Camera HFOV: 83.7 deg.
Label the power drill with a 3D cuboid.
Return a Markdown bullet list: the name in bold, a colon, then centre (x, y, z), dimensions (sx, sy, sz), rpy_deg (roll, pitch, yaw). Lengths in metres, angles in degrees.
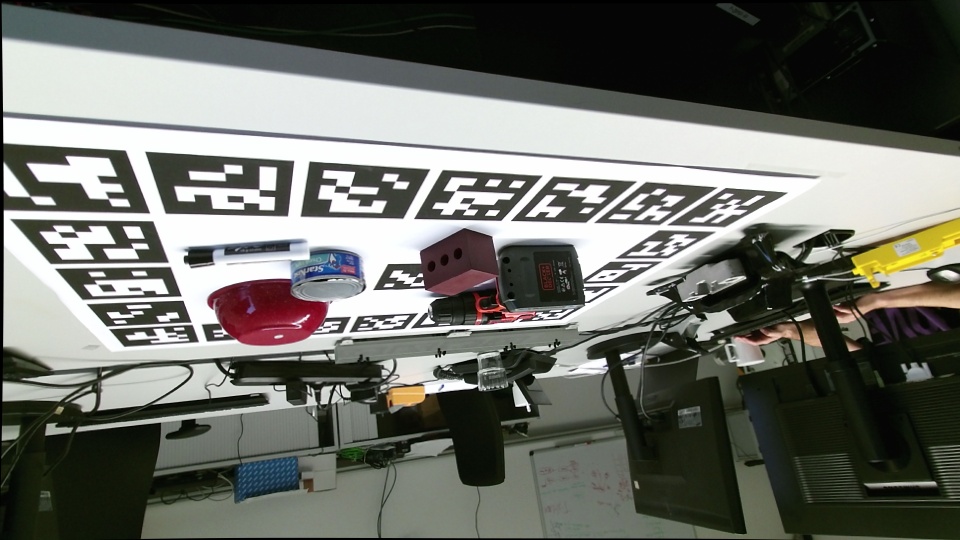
- **power drill**: centre (0.045, 0.030, 0.763), dimensions (0.185, 0.057, 0.187), rpy_deg (2, 159, -20)

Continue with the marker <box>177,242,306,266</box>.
- **marker**: centre (-0.243, -0.015, 0.548), dimensions (0.121, 0.019, 0.019), rpy_deg (-5, 157, -13)

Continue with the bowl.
- **bowl**: centre (-0.271, 0.060, 0.715), dimensions (0.162, 0.055, 0.162), rpy_deg (-10, 167, -2)

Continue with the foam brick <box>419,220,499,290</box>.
- **foam brick**: centre (-0.024, -0.016, 0.625), dimensions (0.051, 0.052, 0.078), rpy_deg (13, 148, -44)

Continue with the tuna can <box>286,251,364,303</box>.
- **tuna can**: centre (-0.180, 0.009, 0.623), dimensions (0.086, 0.033, 0.086), rpy_deg (-7, 158, -3)
